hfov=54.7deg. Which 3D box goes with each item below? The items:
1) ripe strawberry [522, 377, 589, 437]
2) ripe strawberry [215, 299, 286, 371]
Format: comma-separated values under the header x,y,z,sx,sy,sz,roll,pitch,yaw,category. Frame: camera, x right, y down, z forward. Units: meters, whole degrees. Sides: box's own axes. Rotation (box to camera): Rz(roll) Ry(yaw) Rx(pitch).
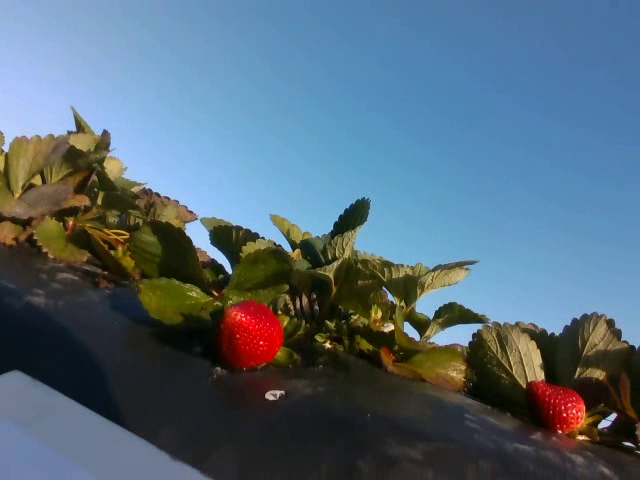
x,y,z,sx,sy,sz,roll,pitch,yaw,category
0.138,0.096,0.364,0.046,0.036,0.034,32,14,12,ripe strawberry
-0.039,0.046,0.319,0.045,0.042,0.055,30,-17,22,ripe strawberry
